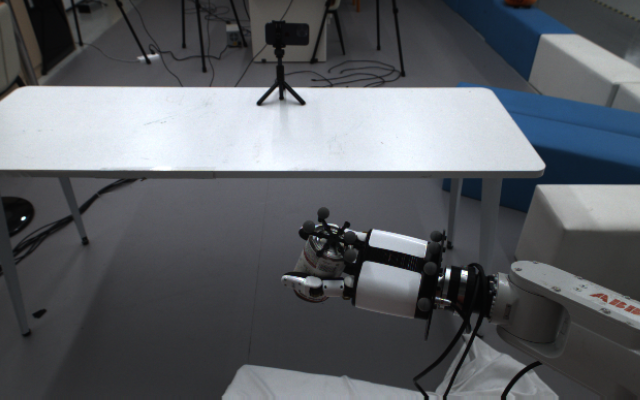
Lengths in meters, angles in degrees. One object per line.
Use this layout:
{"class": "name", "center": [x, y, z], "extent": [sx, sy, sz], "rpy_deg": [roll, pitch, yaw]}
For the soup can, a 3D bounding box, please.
{"class": "soup can", "center": [0.003, 0.095, 0.708], "extent": [0.067, 0.101, 0.067], "rpy_deg": [14, 39, -12]}
